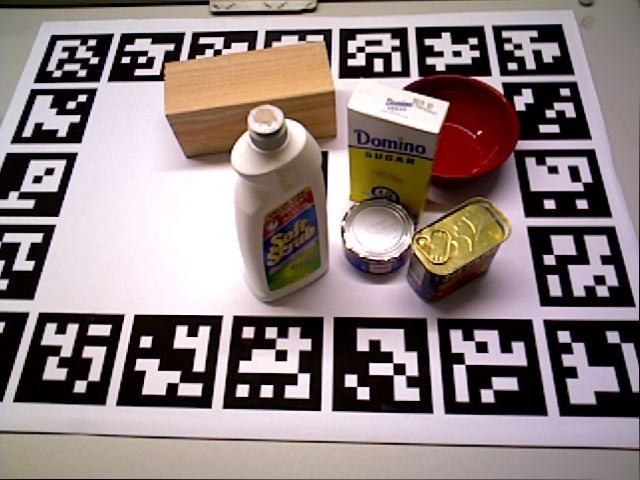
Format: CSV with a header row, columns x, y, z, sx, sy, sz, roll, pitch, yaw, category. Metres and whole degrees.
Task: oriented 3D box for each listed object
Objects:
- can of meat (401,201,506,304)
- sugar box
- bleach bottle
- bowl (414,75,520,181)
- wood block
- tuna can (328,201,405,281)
x,y,z,sx,sy,sz,roll,pitch,yaw,category
0.136,0.014,0.576,0.100,0.085,0.057,-26,59,-13,can of meat
0.073,-0.088,0.575,0.093,0.179,0.044,17,64,16,sugar box
-0.051,-0.031,0.512,0.101,0.255,0.067,-23,61,-10,bleach bottle
0.155,-0.127,0.664,0.161,0.056,0.159,-4,61,6,bowl
-0.102,-0.173,0.689,0.205,0.091,0.090,-8,65,-2,wood block
0.052,0.002,0.609,0.085,0.034,0.085,-2,64,3,tuna can
